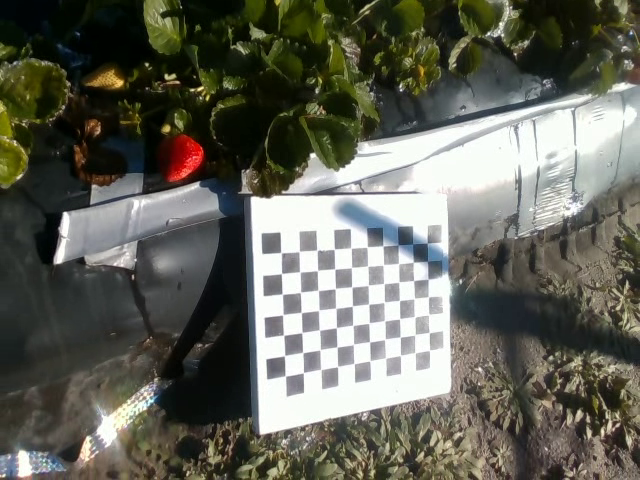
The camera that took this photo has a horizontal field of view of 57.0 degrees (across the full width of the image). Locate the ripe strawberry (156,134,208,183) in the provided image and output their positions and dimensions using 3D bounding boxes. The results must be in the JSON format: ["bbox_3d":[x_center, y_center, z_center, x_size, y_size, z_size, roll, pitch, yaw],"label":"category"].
[{"bbox_3d":[-0.155,-0.084,0.652,0.062,0.065,0.058,34,-59,-29],"label":"ripe strawberry"}]
